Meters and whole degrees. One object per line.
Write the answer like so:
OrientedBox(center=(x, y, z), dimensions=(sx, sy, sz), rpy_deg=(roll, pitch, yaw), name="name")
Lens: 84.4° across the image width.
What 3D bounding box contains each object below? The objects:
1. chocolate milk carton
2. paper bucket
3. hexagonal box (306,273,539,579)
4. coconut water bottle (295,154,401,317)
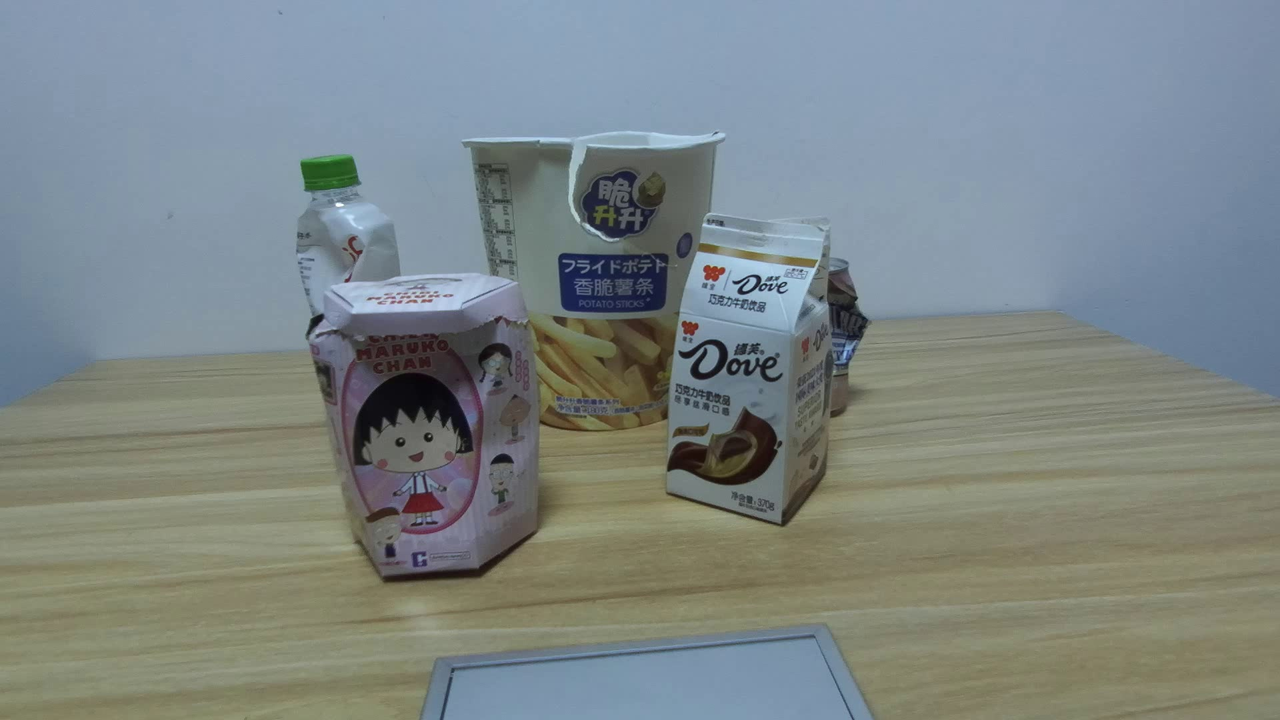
OrientedBox(center=(0.060, -0.001, 0.389), dimensions=(0.084, 0.155, 0.073), rpy_deg=(10, 22, 31), name="chocolate milk carton")
OrientedBox(center=(-0.030, -0.065, 0.519), dimensions=(0.146, 0.197, 0.201), rpy_deg=(-20, 26, -40), name="paper bucket")
OrientedBox(center=(-0.104, 0.029, 0.354), dimensions=(0.091, 0.134, 0.090), rpy_deg=(10, 20, 34), name="hexagonal box")
OrientedBox(center=(-0.181, -0.034, 0.455), dimensions=(0.069, 0.187, 0.069), rpy_deg=(-2, 17, 1), name="coconut water bottle")
